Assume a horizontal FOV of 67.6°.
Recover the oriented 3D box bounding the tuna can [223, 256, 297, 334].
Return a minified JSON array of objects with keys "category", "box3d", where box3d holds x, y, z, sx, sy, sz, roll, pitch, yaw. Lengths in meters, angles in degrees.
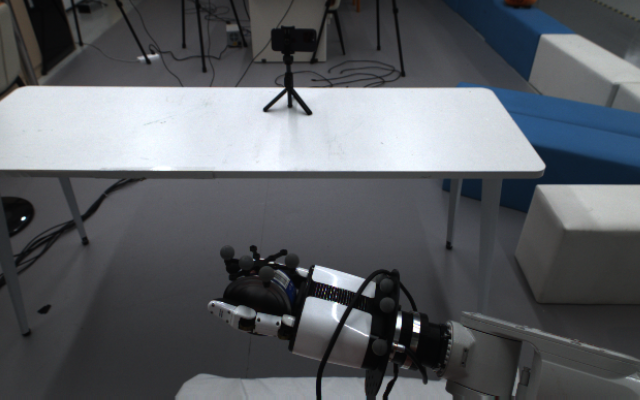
[{"category":"tuna can","box3d":[-0.070,0.120,0.591,0.085,0.085,0.034,9,23,10]}]
